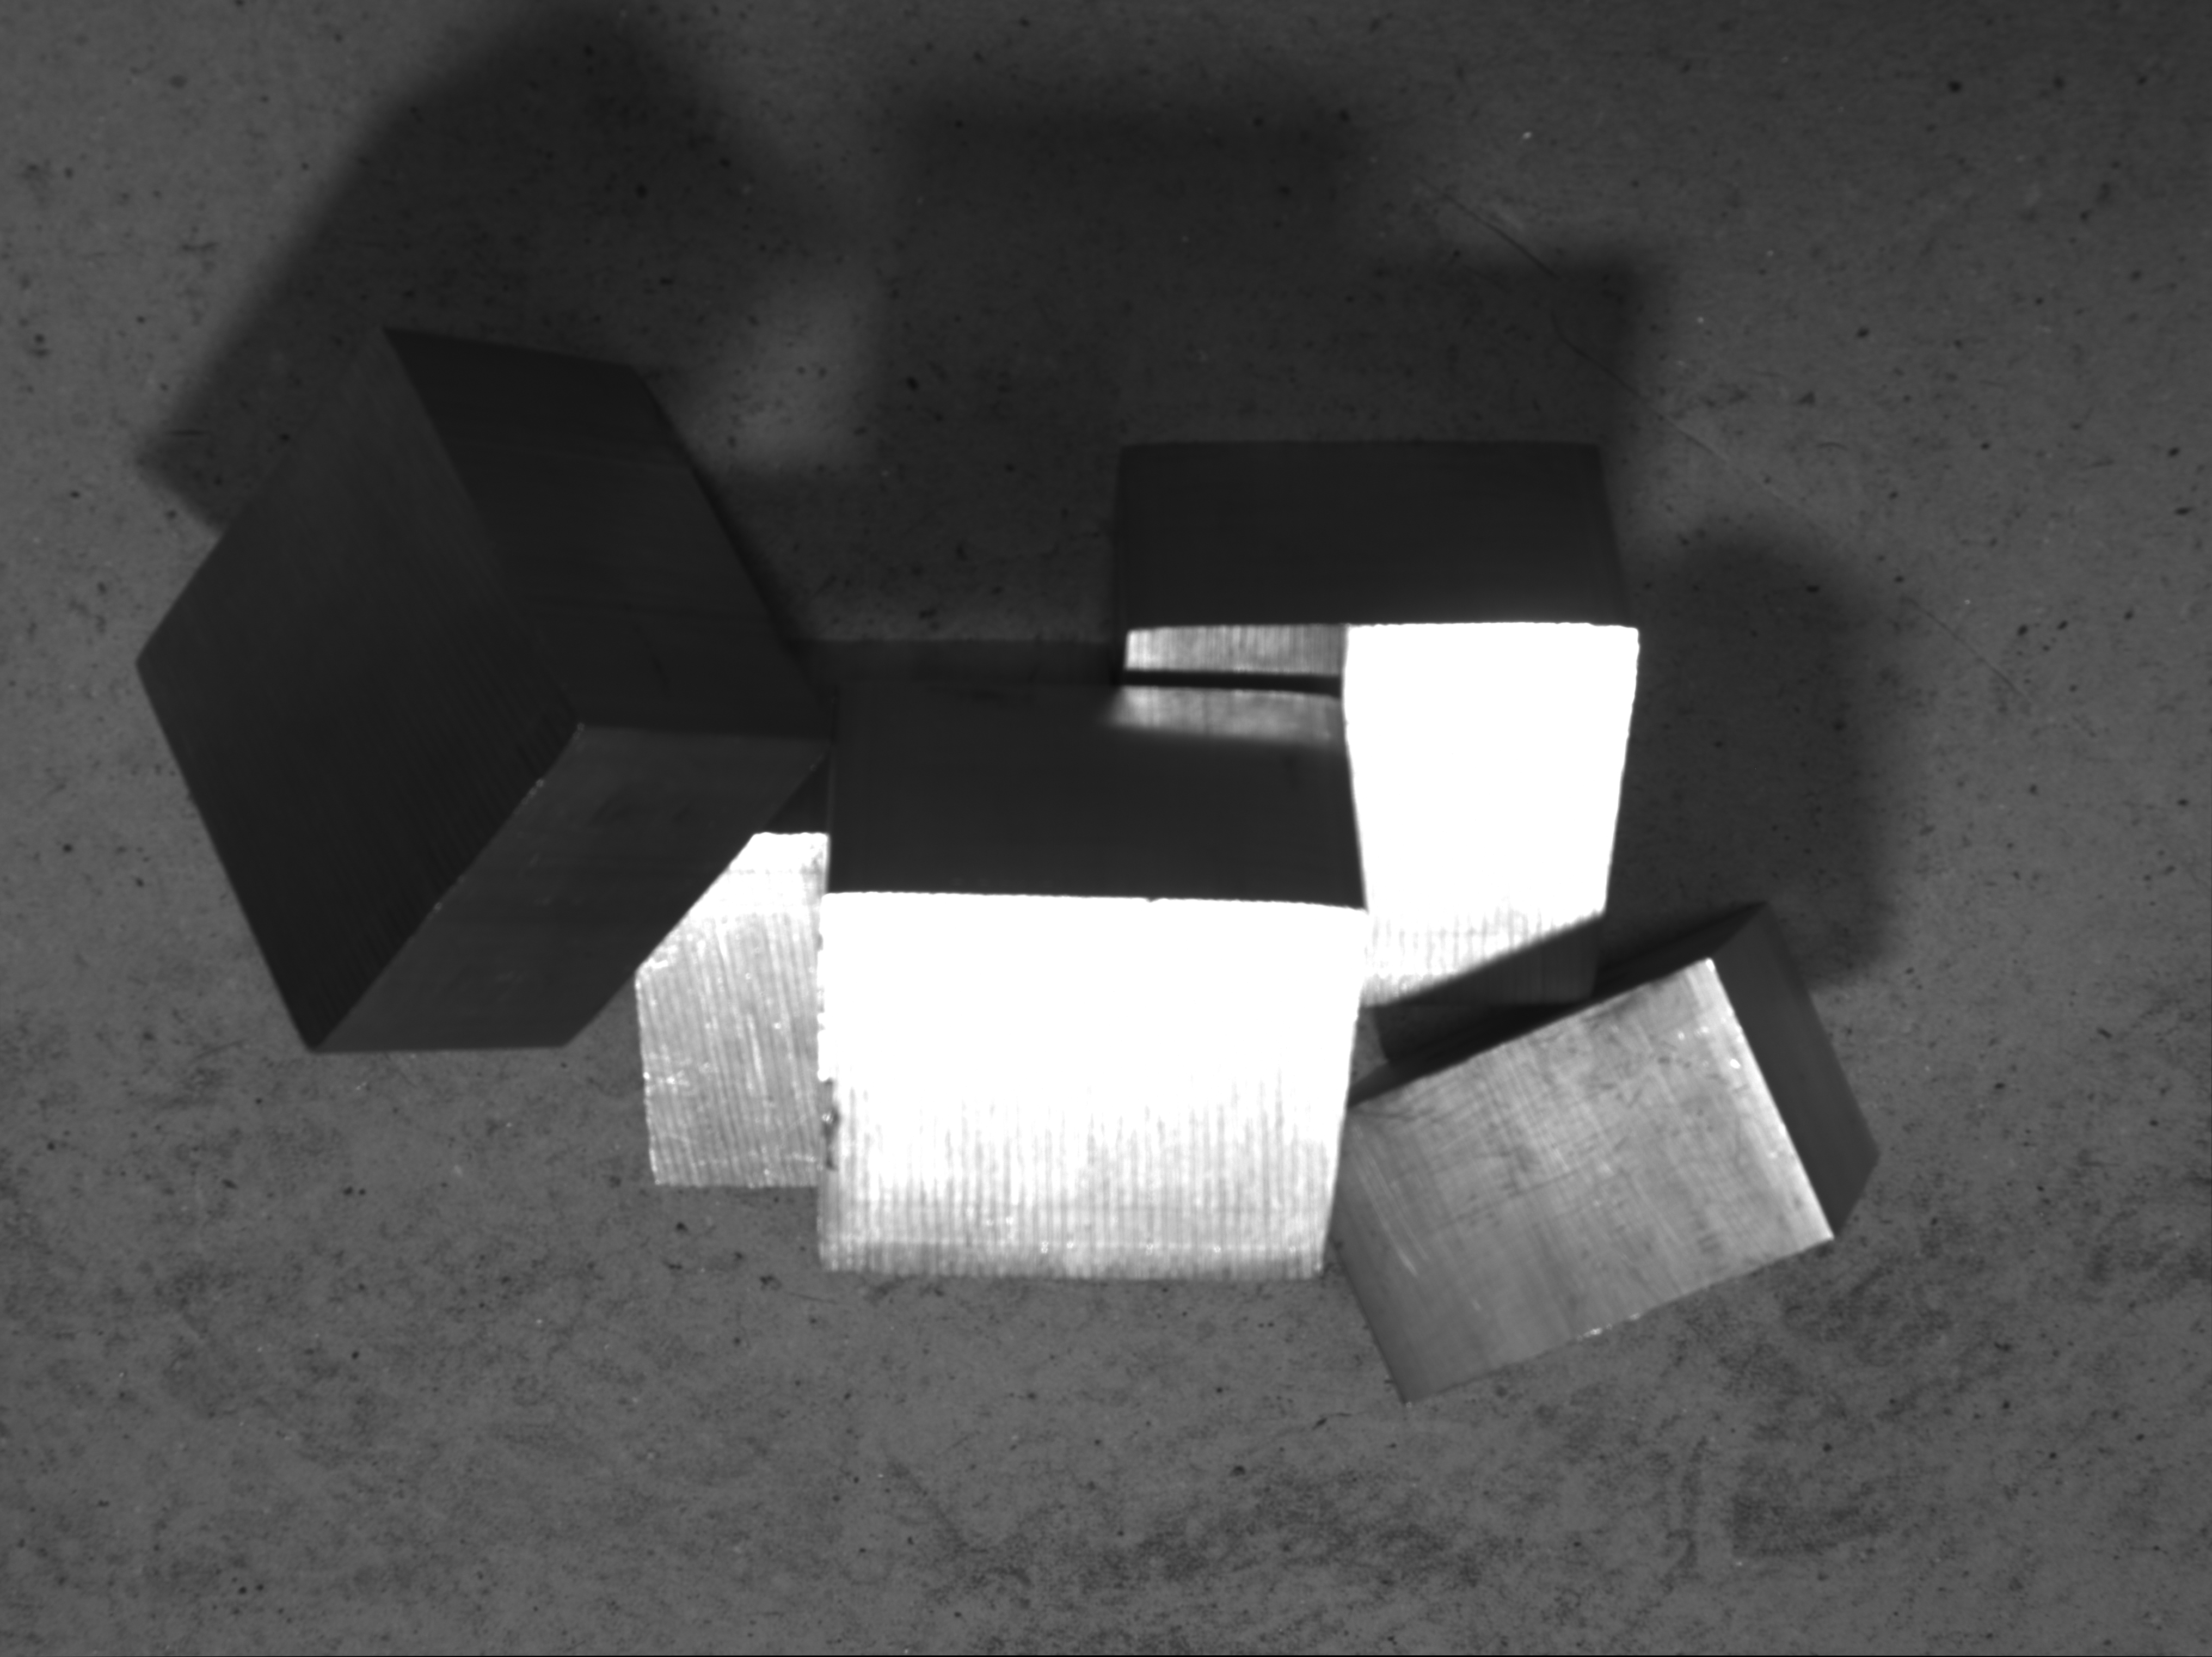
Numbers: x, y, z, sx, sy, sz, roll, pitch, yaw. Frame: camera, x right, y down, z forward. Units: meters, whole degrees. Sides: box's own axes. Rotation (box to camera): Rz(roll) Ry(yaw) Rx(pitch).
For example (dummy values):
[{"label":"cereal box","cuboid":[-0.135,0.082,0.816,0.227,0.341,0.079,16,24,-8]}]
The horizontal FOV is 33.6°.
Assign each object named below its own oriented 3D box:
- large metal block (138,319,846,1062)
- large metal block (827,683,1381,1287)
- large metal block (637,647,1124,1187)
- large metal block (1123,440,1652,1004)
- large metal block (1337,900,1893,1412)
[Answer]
[{"label":"large metal block","cuboid":[-0.098,-0.020,0.574,0.050,0.080,0.080,2,140,-49]},{"label":"large metal block","cuboid":[-0.003,0.025,0.575,0.080,0.050,0.080,2,130,-3]},{"label":"large metal block","cuboid":[-0.037,0.016,0.632,0.080,0.050,0.080,0,130,-2]},{"label":"large metal block","cuboid":[0.043,-0.017,0.610,0.080,0.050,0.080,0,130,-2]},{"label":"large metal block","cuboid":[0.088,0.056,0.644,0.080,0.080,0.050,-25,88,18]}]
